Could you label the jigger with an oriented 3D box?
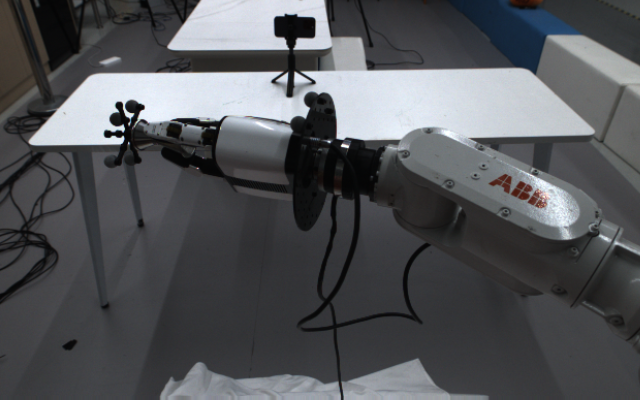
[{"bbox_3d":[-0.188,-0.080,0.605,0.071,0.043,0.043,7,35,13],"label":"jigger"}]
